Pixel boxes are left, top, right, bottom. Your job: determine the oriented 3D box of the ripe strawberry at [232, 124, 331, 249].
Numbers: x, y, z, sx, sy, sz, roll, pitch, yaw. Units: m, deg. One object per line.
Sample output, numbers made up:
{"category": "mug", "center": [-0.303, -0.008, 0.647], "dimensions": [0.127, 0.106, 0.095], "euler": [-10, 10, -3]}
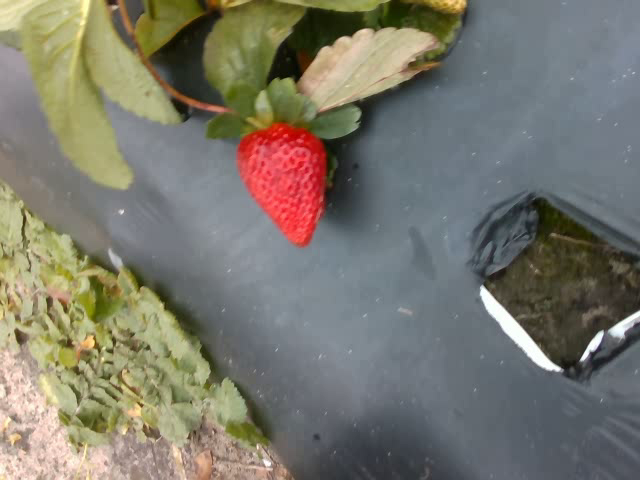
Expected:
{"category": "ripe strawberry", "center": [-0.016, -0.023, 0.277], "dimensions": [0.048, 0.064, 0.046], "euler": [-6, -14, -7]}
